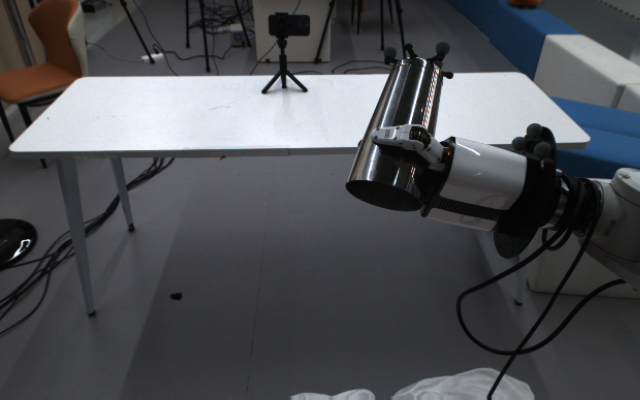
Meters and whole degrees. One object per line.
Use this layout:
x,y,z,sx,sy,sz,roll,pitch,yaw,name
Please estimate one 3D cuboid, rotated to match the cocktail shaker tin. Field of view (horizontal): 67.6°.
0.099,-0.082,0.586,0.093,0.093,0.170,13,73,15,cocktail shaker tin
